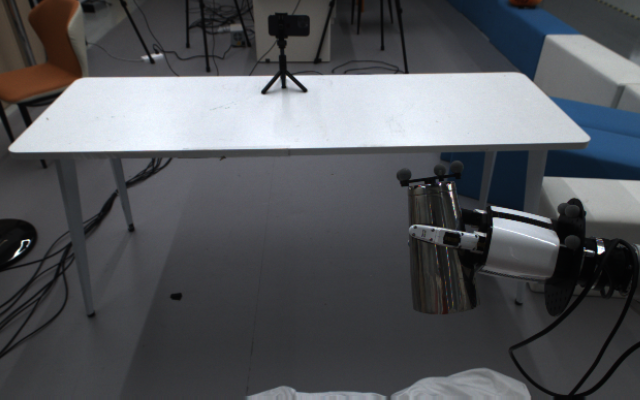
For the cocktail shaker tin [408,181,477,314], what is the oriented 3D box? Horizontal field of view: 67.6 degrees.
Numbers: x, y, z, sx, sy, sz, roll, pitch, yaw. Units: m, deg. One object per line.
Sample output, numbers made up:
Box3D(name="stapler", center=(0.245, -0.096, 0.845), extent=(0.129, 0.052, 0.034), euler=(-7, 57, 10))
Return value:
Box3D(name="cocktail shaker tin", center=(0.166, 0.062, 0.675), extent=(0.093, 0.170, 0.093), euler=(-8, 1, 0))
